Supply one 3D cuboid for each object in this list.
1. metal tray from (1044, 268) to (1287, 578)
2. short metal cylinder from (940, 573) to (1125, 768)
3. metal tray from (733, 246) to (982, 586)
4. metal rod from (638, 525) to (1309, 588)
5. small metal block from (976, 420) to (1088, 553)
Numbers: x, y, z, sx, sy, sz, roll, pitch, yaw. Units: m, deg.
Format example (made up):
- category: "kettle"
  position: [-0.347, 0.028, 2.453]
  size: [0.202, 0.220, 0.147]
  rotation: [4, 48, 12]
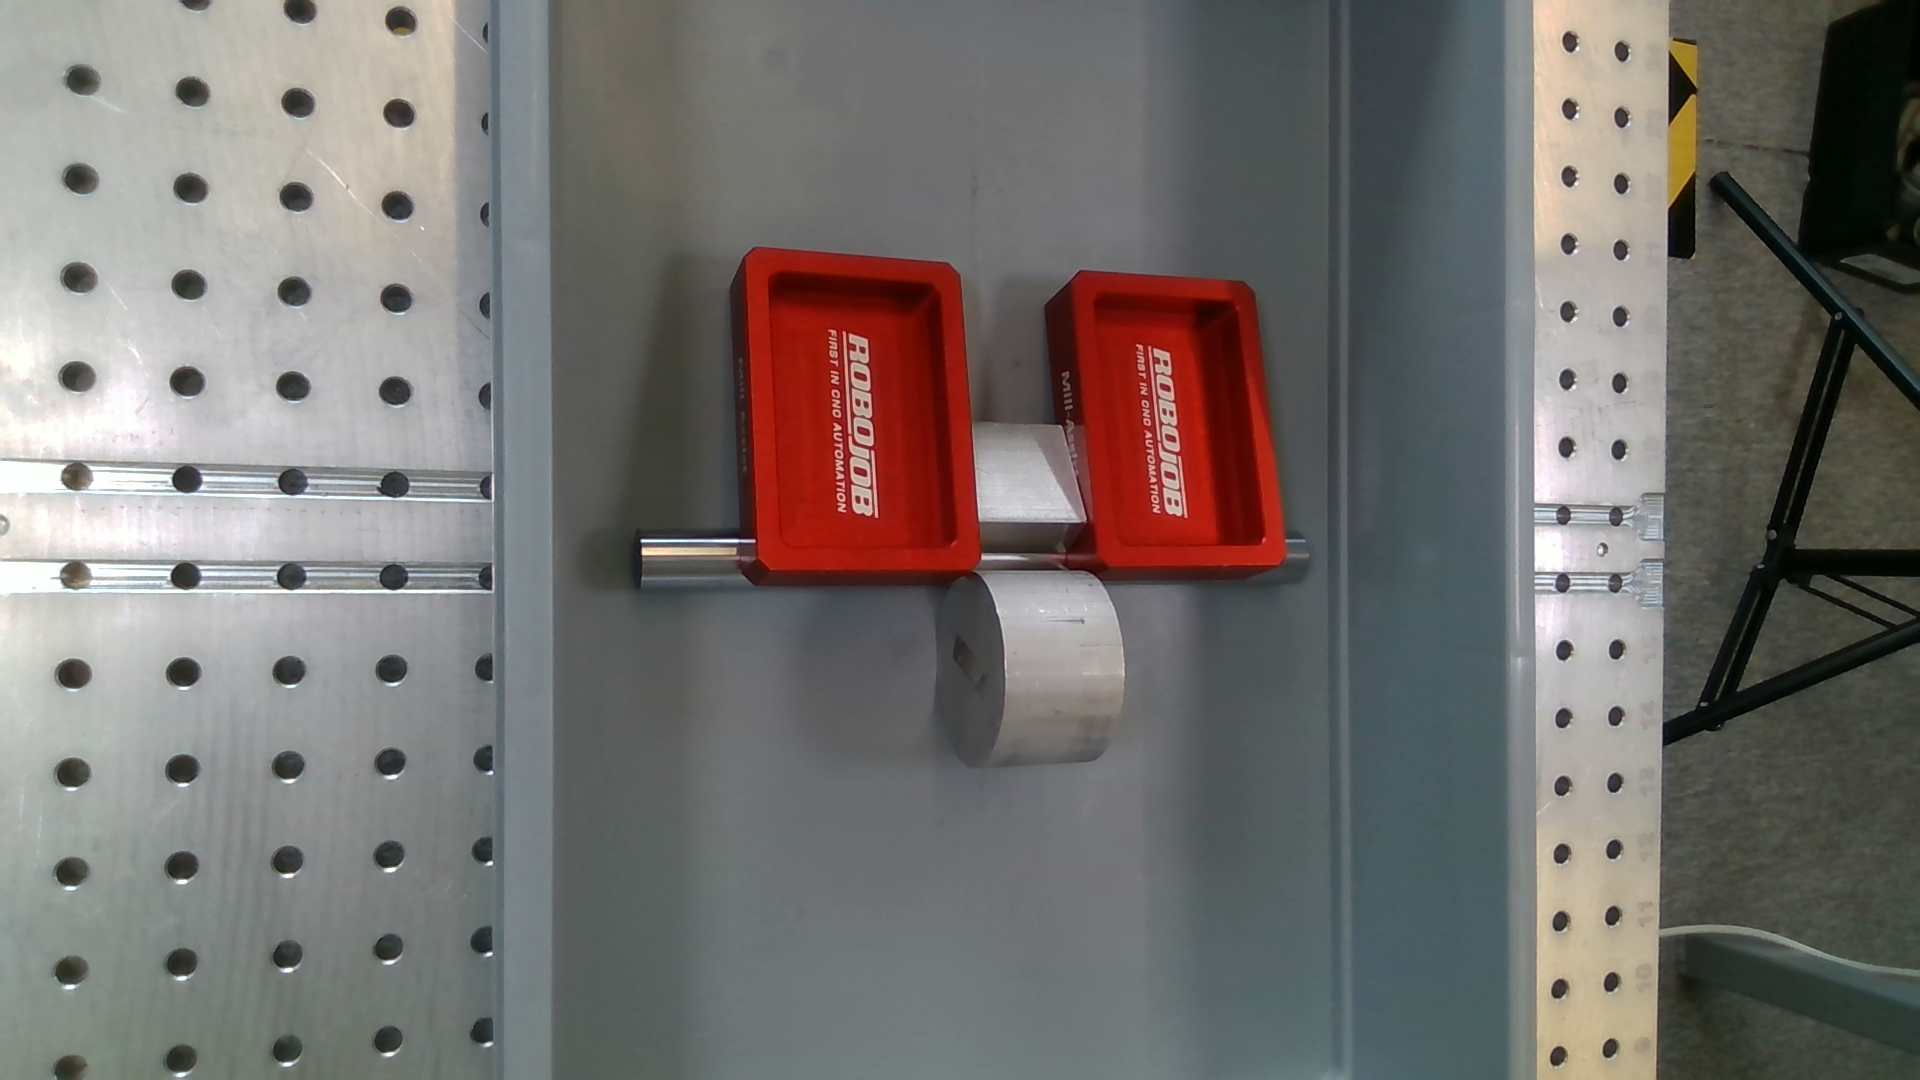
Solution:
- category: "metal tray"
  position: [0.089, -0.049, 0.600]
  size: [0.090, 0.030, 0.130]
  rotation: [0, 78, -20]
- category: "short metal cylinder"
  position: [0.027, 0.052, 0.566]
  size: [0.050, 0.080, 0.080]
  rotation: [0, 90, -20]
- category: "metal tray"
  position: [-0.042, -0.048, 0.552]
  size: [0.090, 0.030, 0.130]
  rotation: [0, 78, -20]
- category: "metal rod"
  position: [0.015, 0.007, 0.590]
  size: [0.300, 0.025, 0.025]
  rotation: [0, 90, -20]
- category: "small metal block"
  position: [0.021, -0.023, 0.582]
  size: [0.050, 0.025, 0.050]
  rotation: [1, 59, -20]
